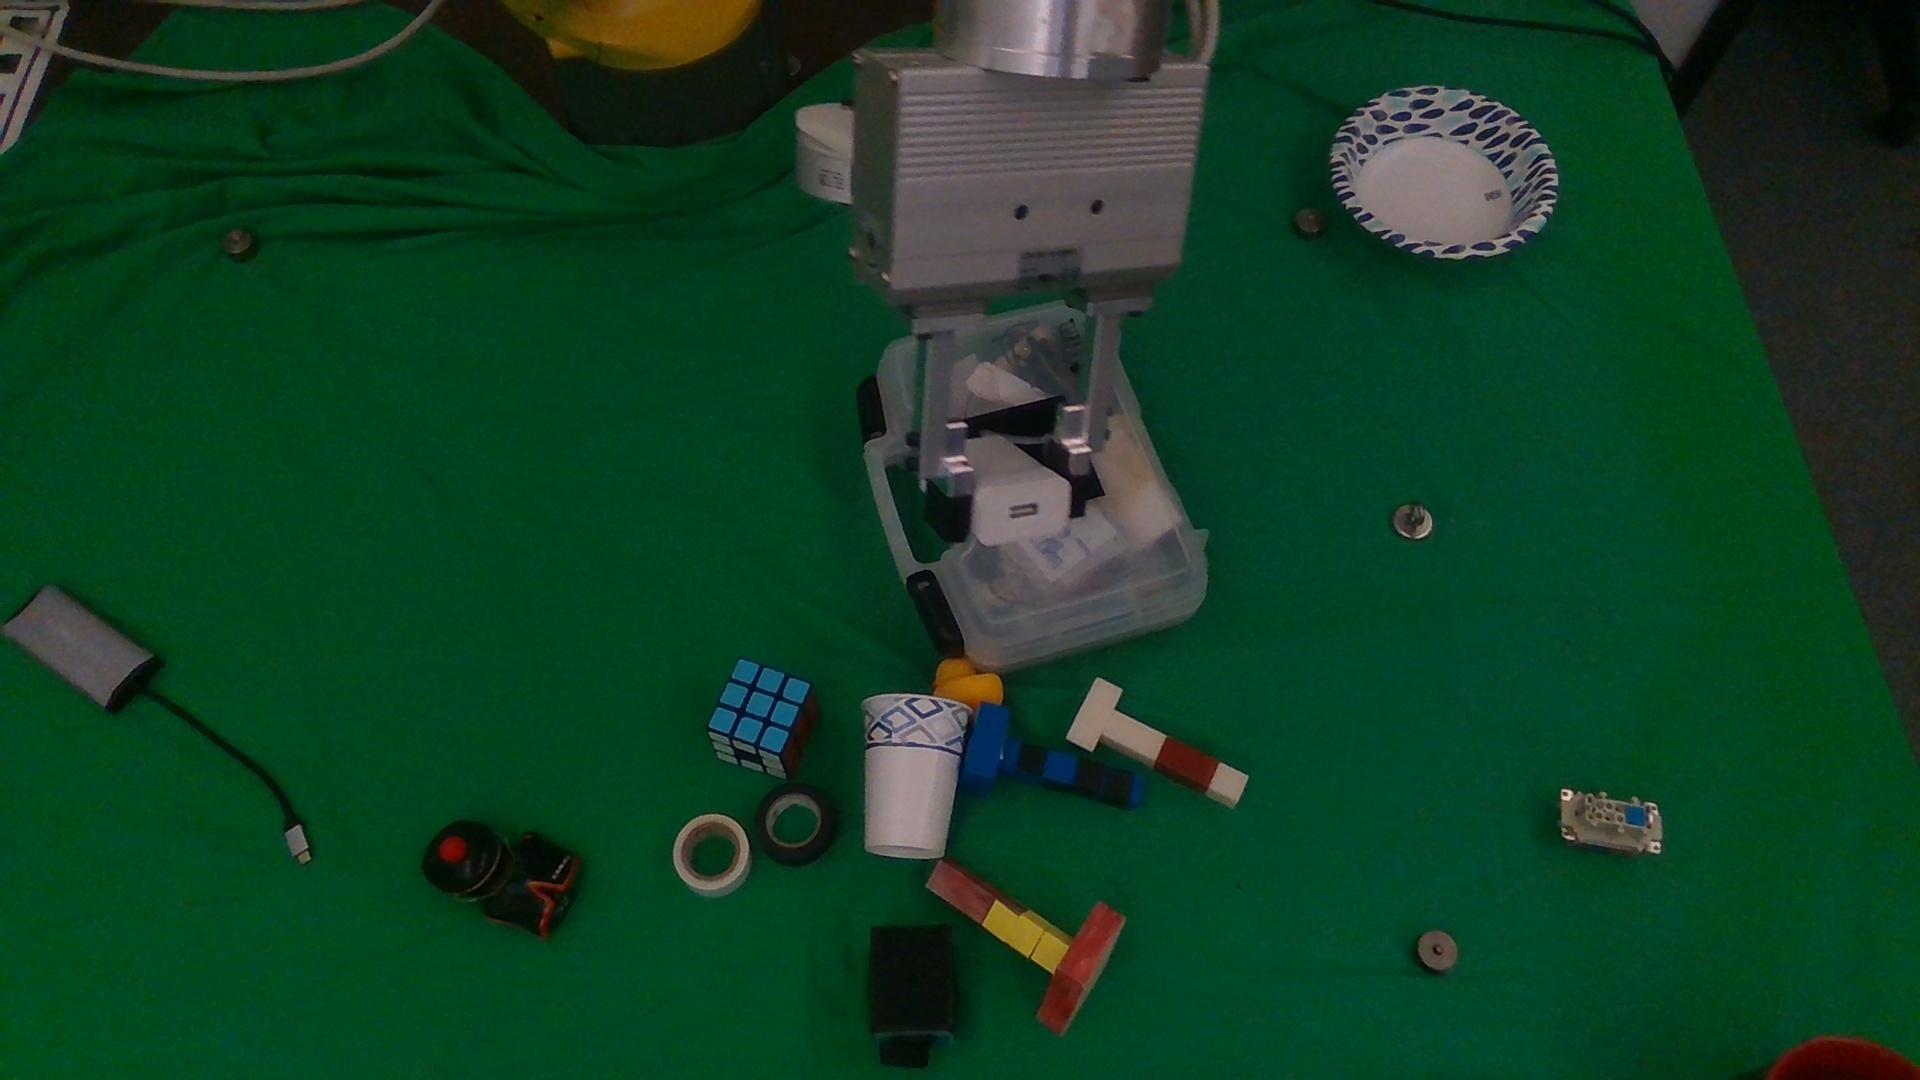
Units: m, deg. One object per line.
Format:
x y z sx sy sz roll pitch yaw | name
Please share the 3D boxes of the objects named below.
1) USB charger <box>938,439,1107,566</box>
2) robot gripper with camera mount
0.020 -0.021 0.565 0.044 0.029 0.076 -28 44 -31 | USB charger
-0.005 -0.111 0.572 0.118 0.158 0.194 -14 34 -22 | robot gripper with camera mount
